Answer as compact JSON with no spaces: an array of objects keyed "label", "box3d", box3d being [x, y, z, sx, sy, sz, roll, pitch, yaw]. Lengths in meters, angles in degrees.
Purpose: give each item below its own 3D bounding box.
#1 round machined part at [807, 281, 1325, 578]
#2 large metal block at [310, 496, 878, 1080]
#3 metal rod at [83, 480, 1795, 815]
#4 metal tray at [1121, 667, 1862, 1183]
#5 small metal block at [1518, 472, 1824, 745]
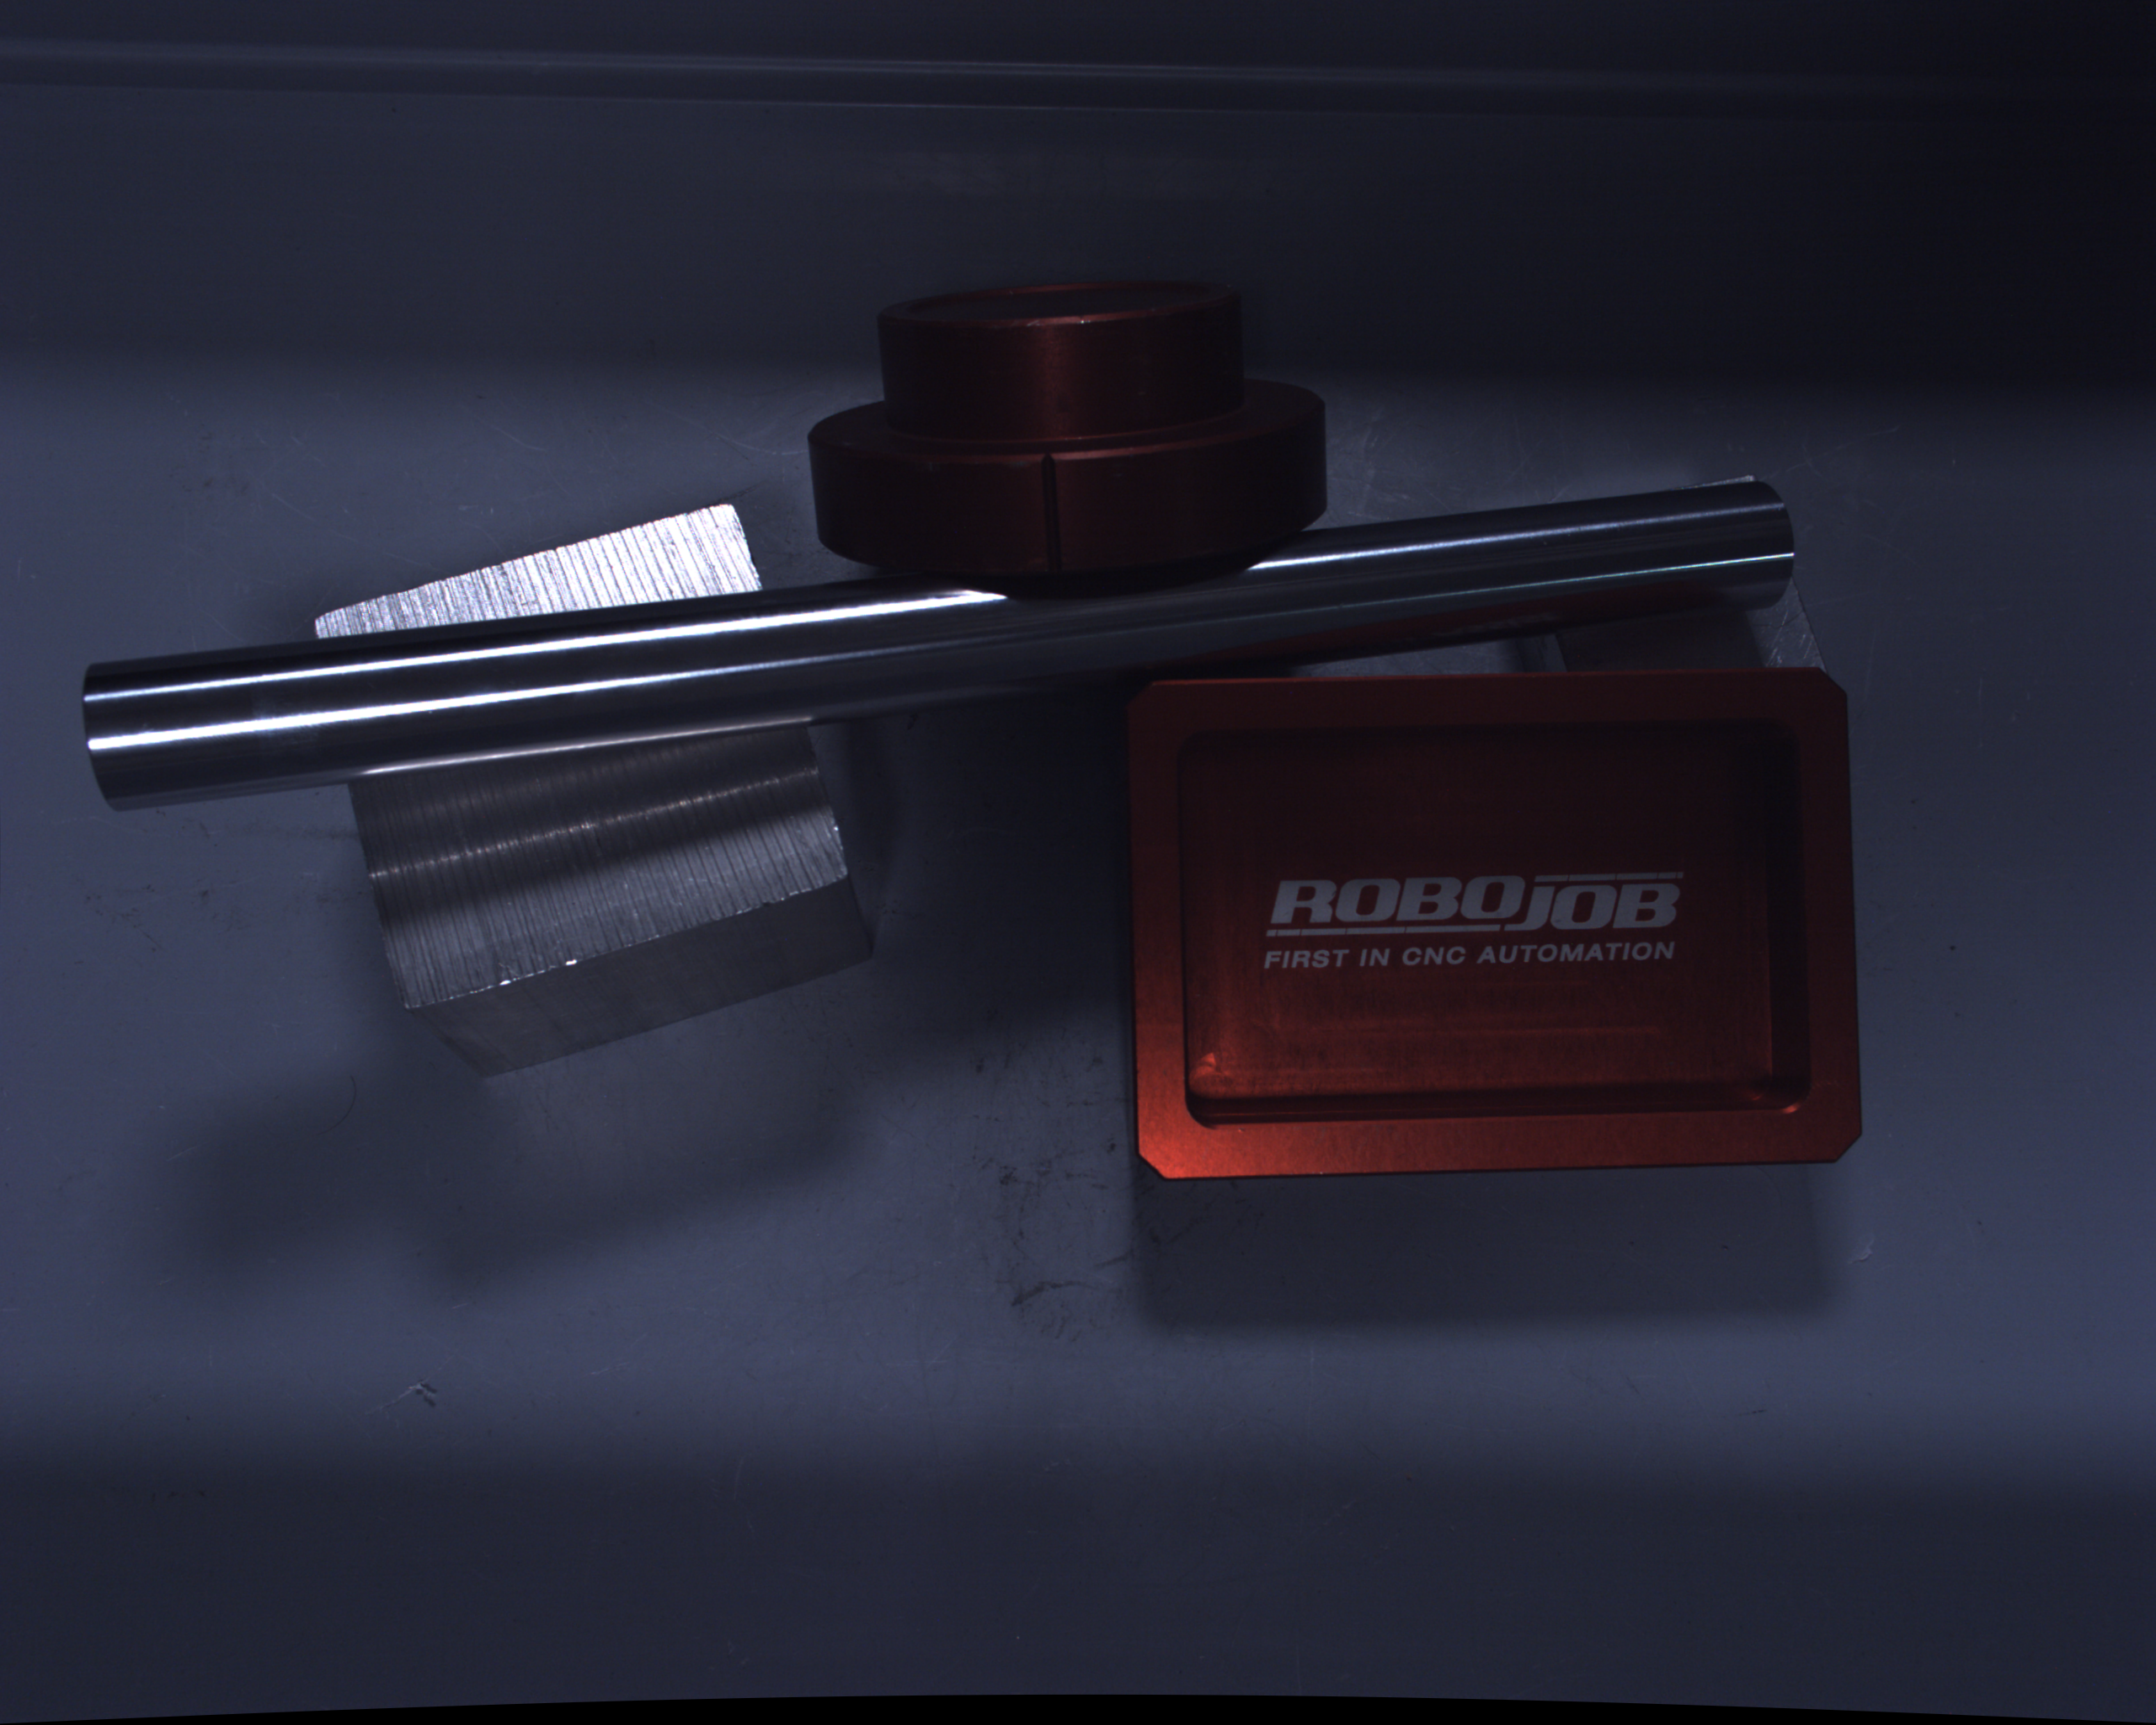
[{"label":"round machined part","box3d":[-0.002,-0.086,0.399,0.099,0.098,0.042,-4,111,-2]},{"label":"large metal block","box3d":[-0.090,-0.013,0.398,0.081,0.050,0.080,-17,71,-7]},{"label":"metal rod","box3d":[-0.014,-0.041,0.375,0.302,0.025,0.025,-8,70,-11]},{"label":"metal tray","box3d":[0.074,0.011,0.387,0.131,0.030,0.089,-1,89,-2]},{"label":"small metal block","box3d":[0.119,-0.048,0.427,0.050,0.025,0.050,-11,71,-4]}]
